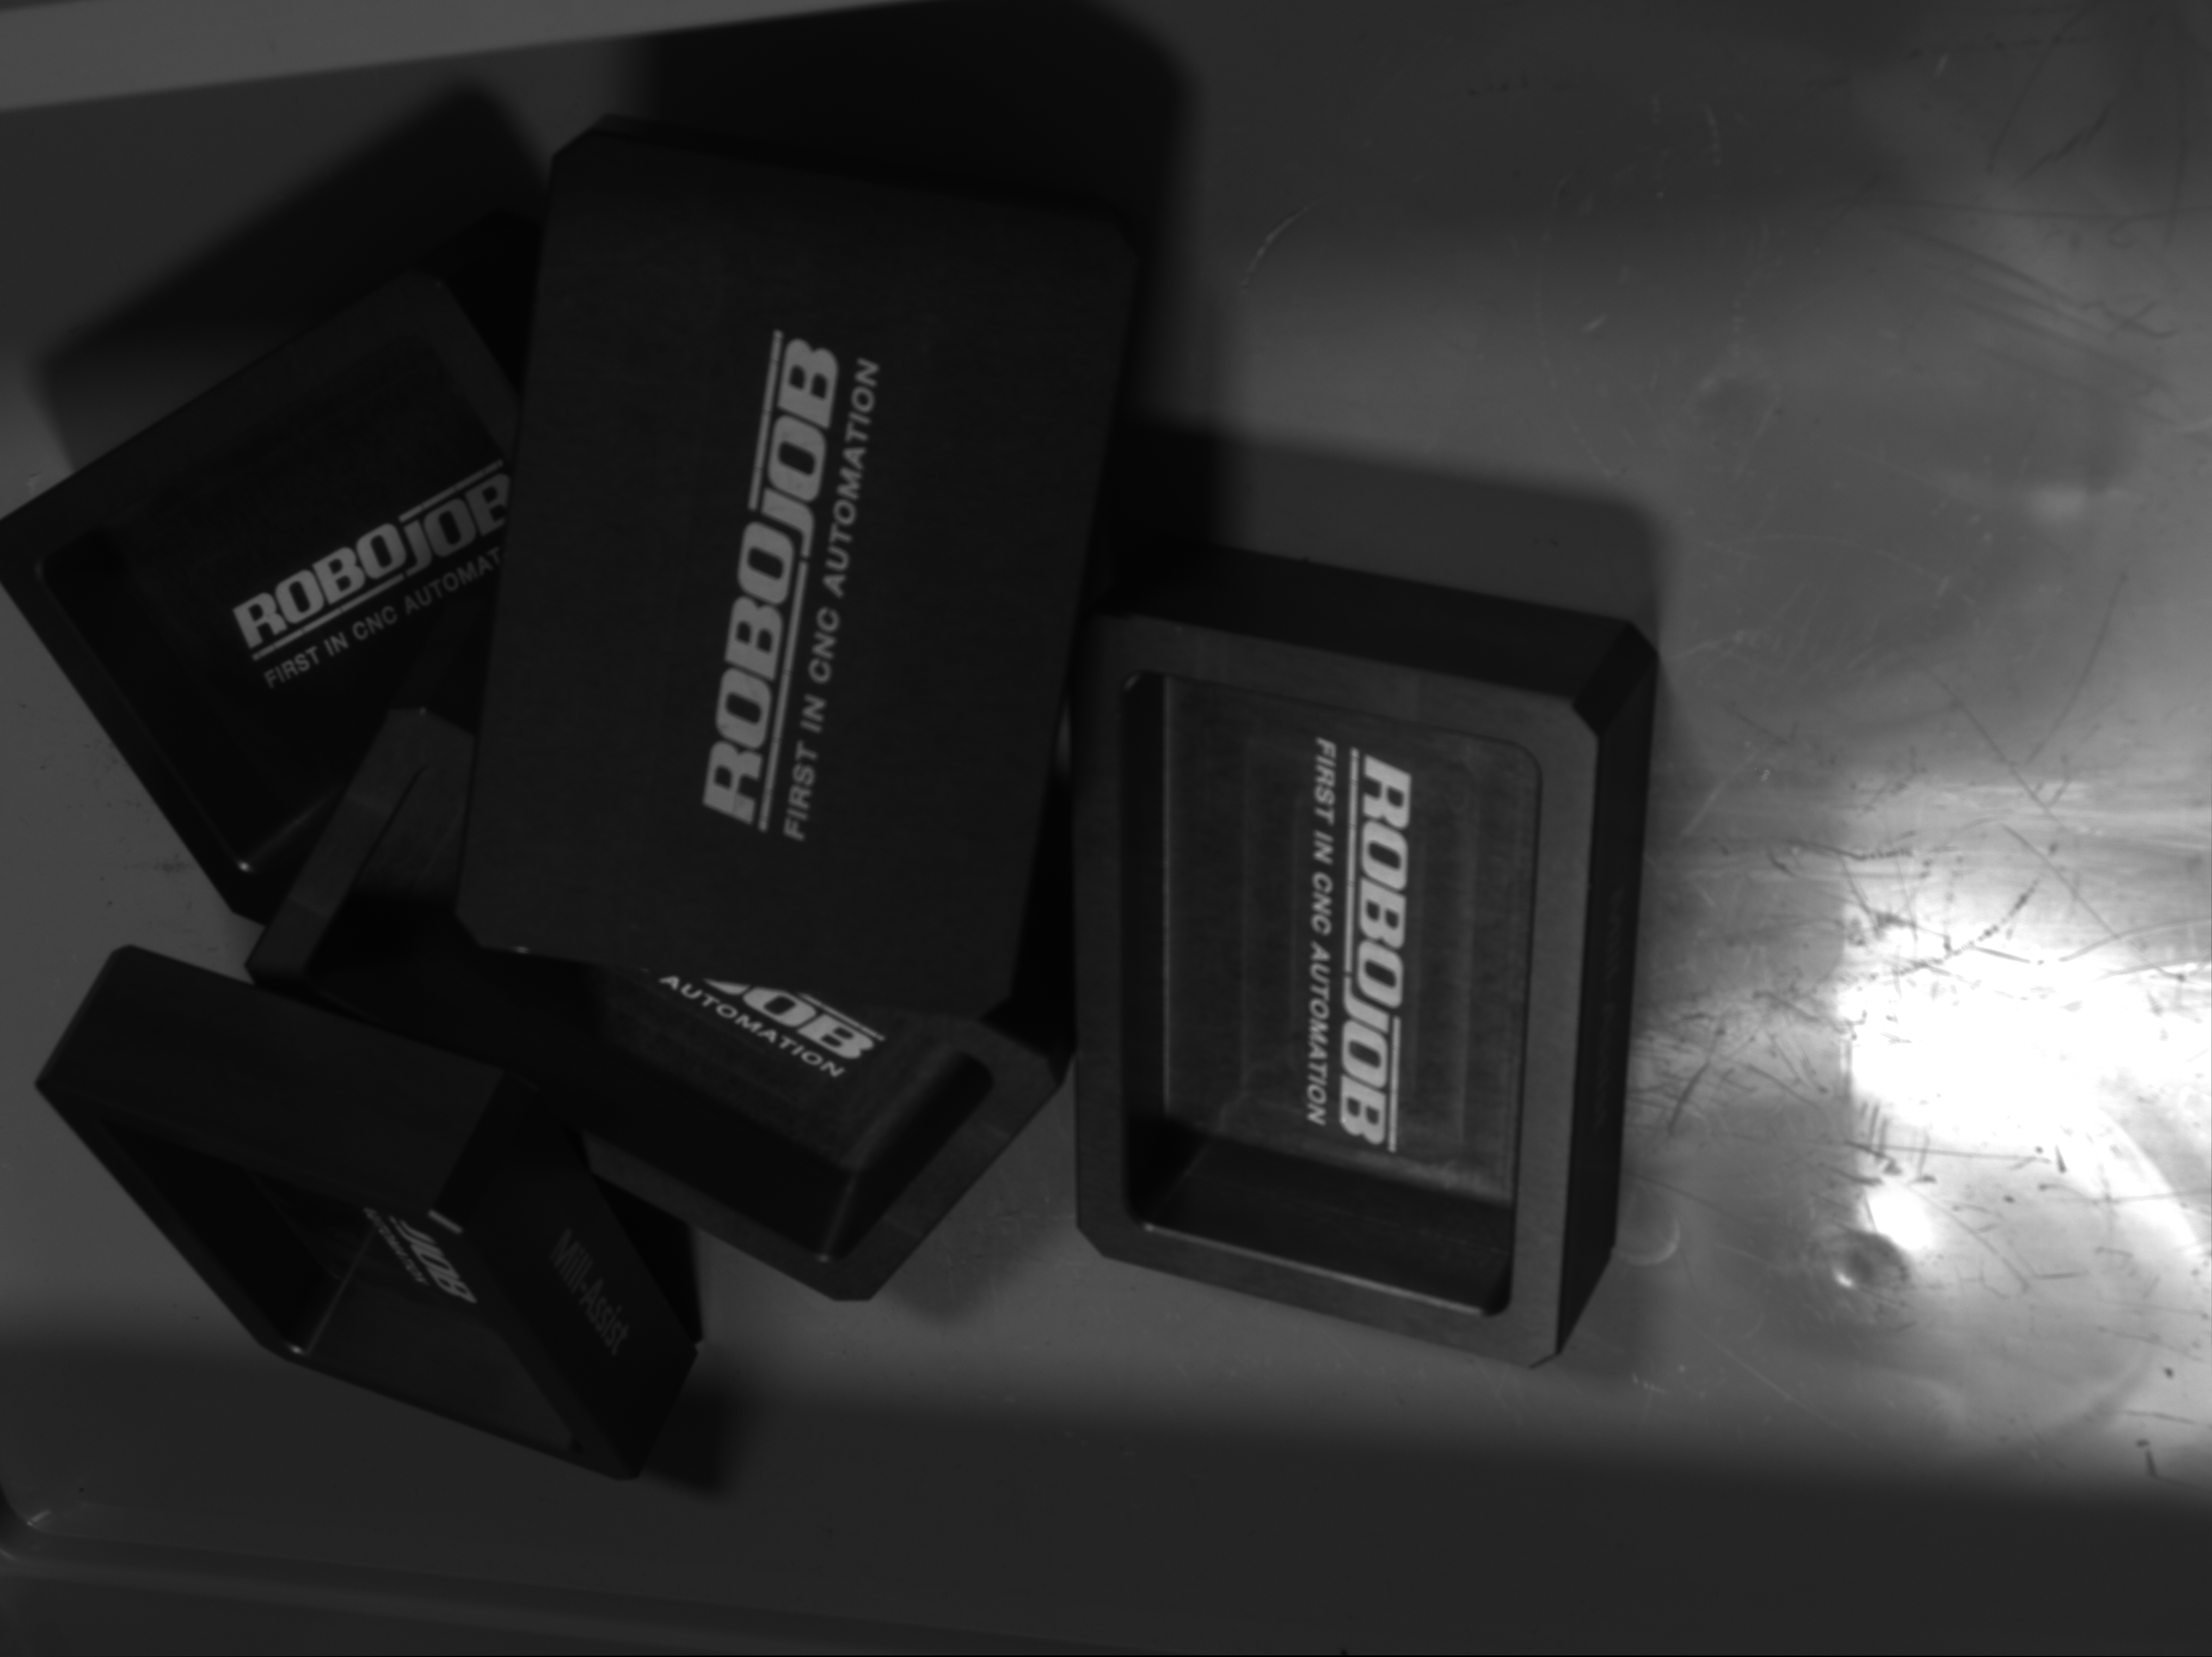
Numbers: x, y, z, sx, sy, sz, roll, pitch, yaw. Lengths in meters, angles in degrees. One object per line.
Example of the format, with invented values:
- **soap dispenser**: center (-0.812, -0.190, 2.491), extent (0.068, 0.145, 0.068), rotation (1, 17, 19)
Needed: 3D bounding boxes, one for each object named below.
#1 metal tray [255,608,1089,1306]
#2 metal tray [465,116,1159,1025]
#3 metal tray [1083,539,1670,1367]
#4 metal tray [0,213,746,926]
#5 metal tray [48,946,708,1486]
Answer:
- **metal tray**: center (-0.076, 0.026, 0.653), extent (0.130, 0.030, 0.090), rotation (29, 136, -10)
- **metal tray**: center (-0.047, -0.040, 0.582), extent (0.090, 0.030, 0.130), rotation (9, 105, -5)
- **metal tray**: center (0.044, 0.022, 0.617), extent (0.090, 0.030, 0.130), rotation (12, 123, 20)
- **metal tray**: center (-0.130, -0.044, 0.665), extent (0.130, 0.030, 0.090), rotation (-22, 107, 35)
- **metal tray**: center (-0.136, 0.077, 0.704), extent (0.090, 0.030, 0.130), rotation (16, 153, 18)
